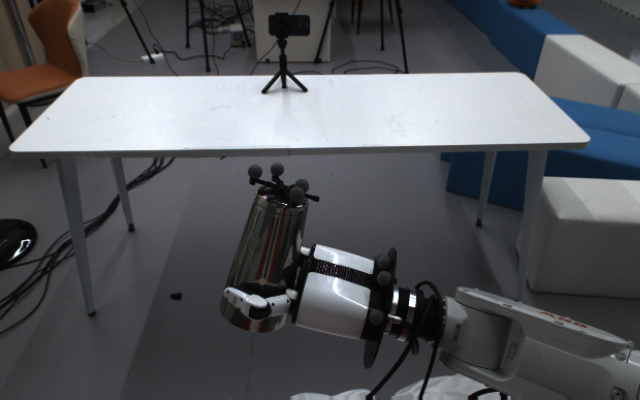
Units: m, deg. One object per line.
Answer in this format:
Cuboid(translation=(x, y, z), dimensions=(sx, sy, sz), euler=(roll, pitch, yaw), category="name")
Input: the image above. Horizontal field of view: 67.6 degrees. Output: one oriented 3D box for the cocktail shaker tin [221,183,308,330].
Cuboid(translation=(-0.066, 0.071, 0.618), dimensions=(0.093, 0.170, 0.093), euler=(14, 20, -5), category="cocktail shaker tin")
